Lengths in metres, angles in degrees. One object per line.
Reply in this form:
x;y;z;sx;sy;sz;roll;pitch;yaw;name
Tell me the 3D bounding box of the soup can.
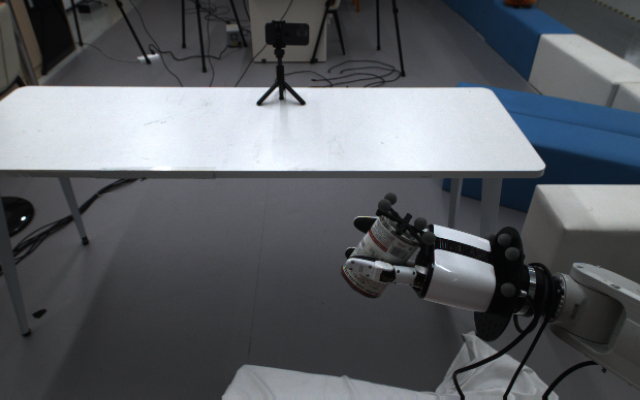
0.084;0.075;0.662;0.067;0.101;0.067;28;22;-12;soup can
